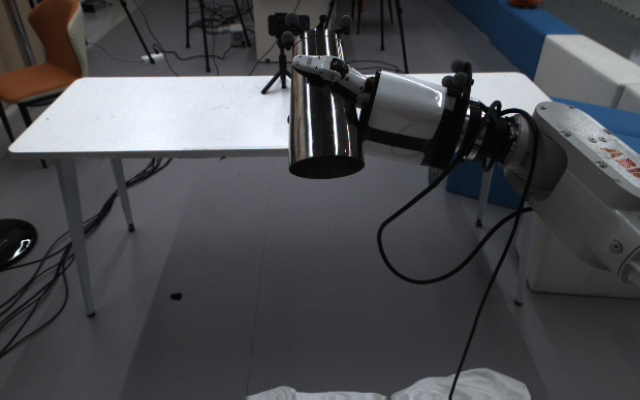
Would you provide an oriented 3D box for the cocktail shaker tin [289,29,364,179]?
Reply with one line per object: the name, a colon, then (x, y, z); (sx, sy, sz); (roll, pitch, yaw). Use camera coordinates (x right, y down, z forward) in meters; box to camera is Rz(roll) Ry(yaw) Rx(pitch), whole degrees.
cocktail shaker tin: (0.003, -0.120, 0.602); (0.093, 0.093, 0.170); (-3, 76, -7)
